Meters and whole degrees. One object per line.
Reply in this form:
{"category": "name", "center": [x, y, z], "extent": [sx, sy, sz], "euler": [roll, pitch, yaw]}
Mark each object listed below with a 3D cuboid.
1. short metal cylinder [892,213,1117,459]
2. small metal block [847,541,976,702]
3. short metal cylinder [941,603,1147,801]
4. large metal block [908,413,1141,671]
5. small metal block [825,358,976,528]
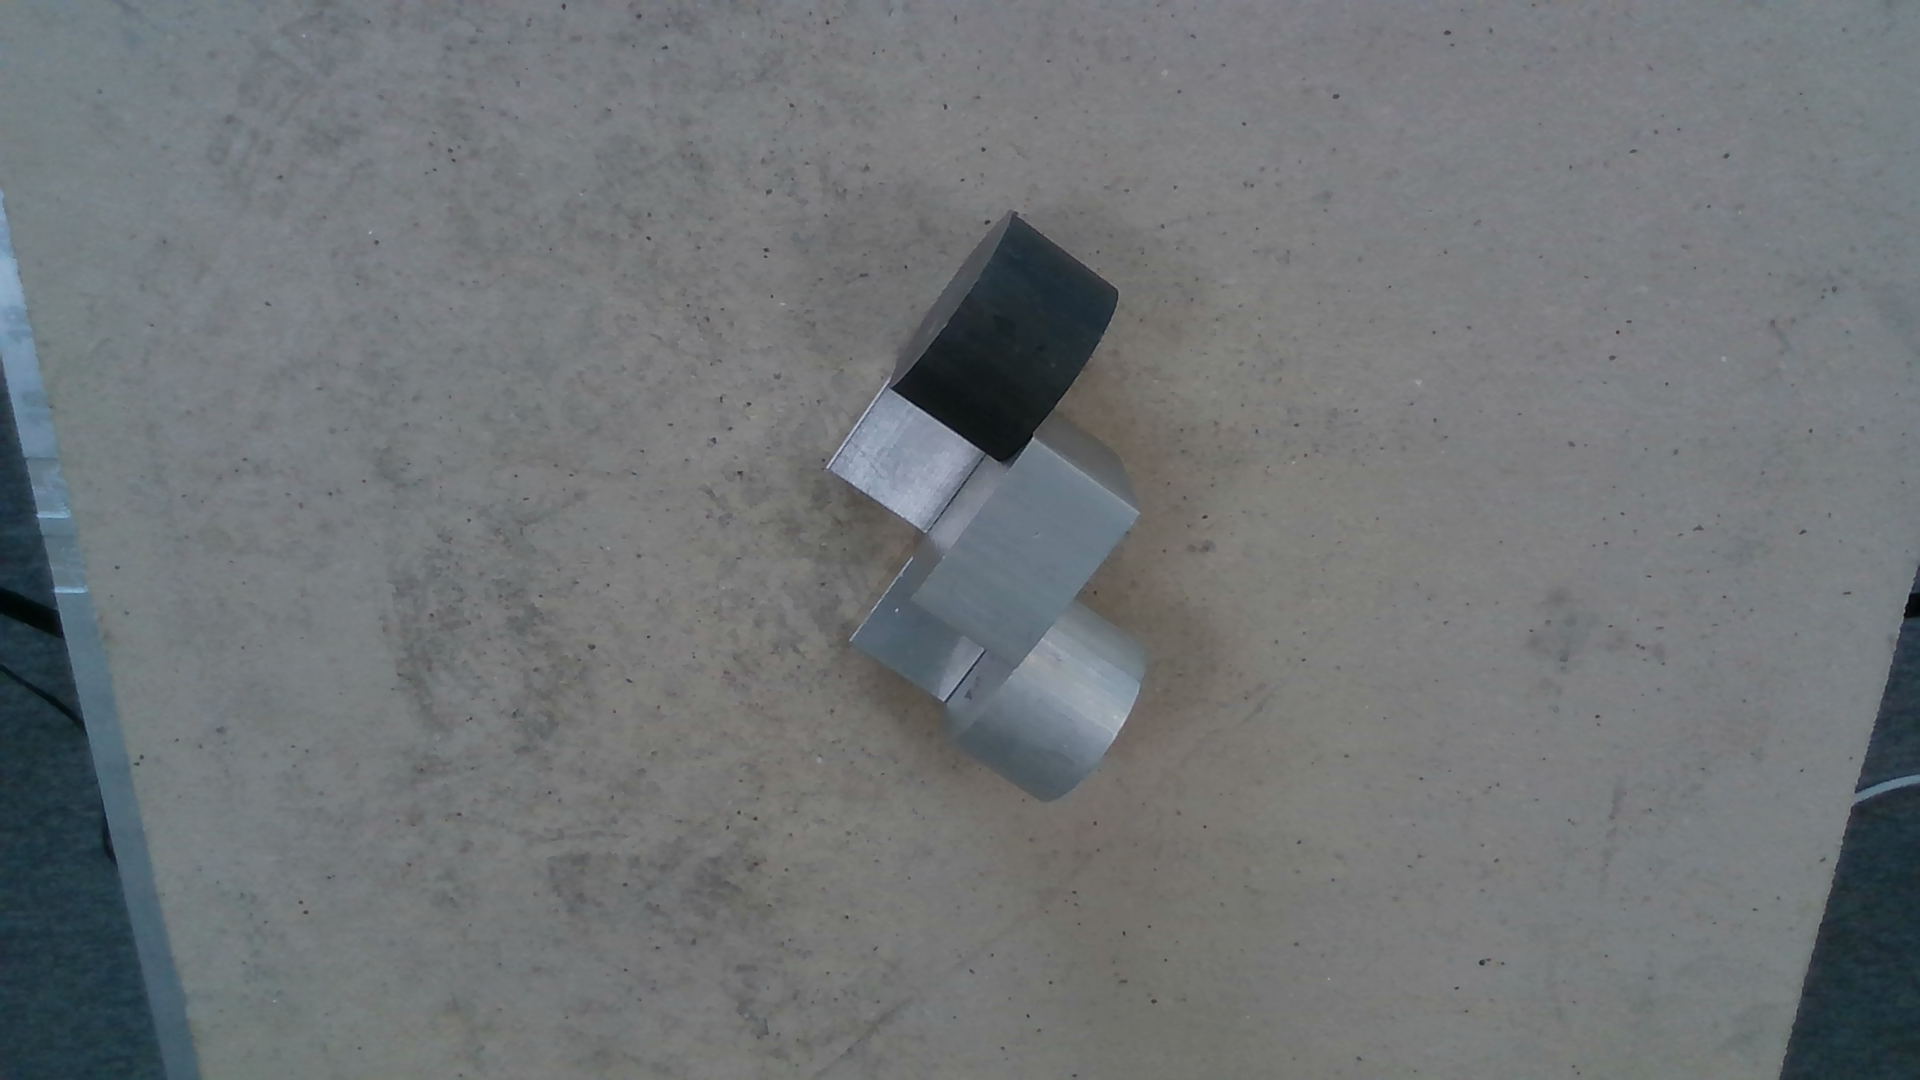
{"category": "short metal cylinder", "center": [0.016, -0.078, 0.527], "extent": [0.050, 0.080, 0.080], "euler": [33, 107, -11]}
{"category": "small metal block", "center": [-0.013, 0.033, 0.598], "extent": [0.050, 0.025, 0.050], "euler": [33, 107, -11]}
{"category": "short metal cylinder", "center": [0.034, 0.062, 0.579], "extent": [0.050, 0.080, 0.080], "euler": [34, 107, -11]}
{"category": "large metal block", "center": [0.024, -0.007, 0.554], "extent": [0.050, 0.080, 0.080], "euler": [33, 107, -12]}
{"category": "small metal block", "center": [-0.020, -0.040, 0.571], "extent": [0.050, 0.025, 0.050], "euler": [33, 107, -11]}
